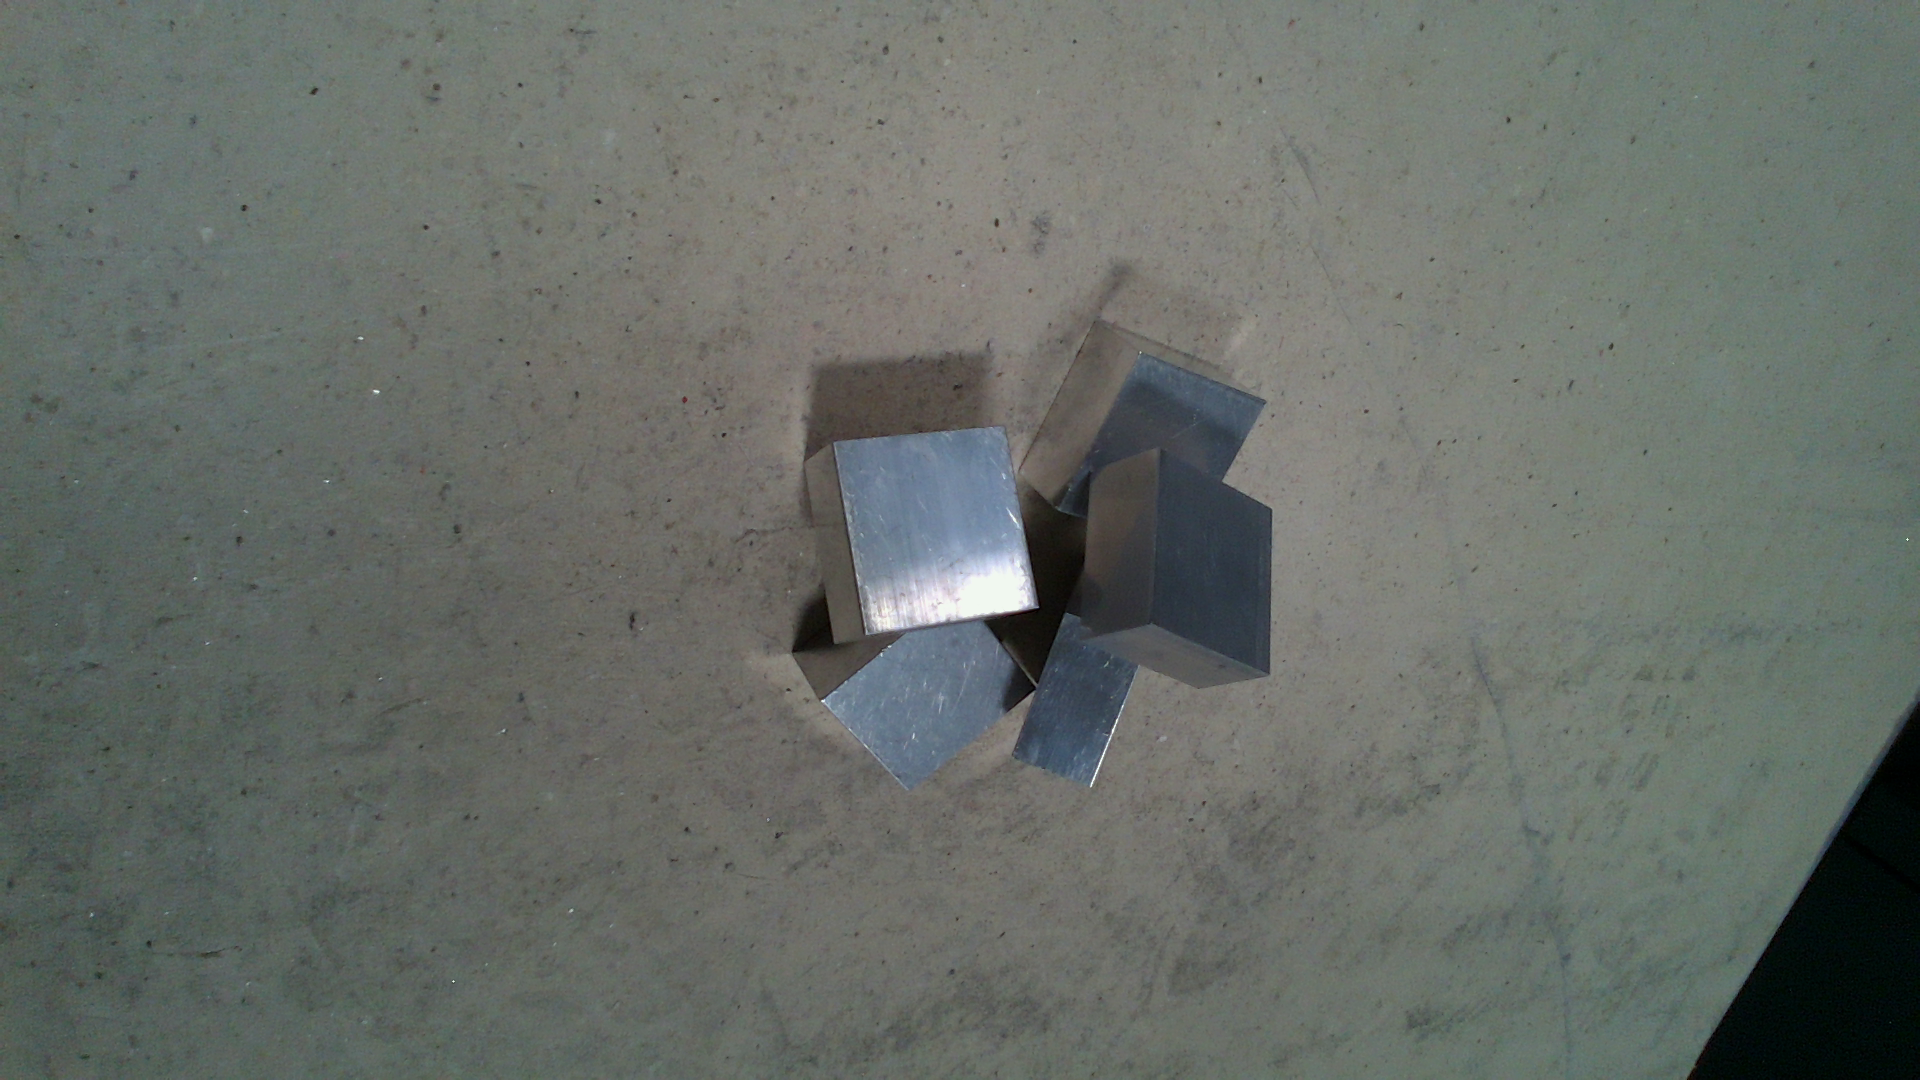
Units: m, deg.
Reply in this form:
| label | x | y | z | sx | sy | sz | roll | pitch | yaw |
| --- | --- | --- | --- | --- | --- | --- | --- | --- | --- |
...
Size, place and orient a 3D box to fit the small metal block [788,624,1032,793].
| label | x | y | z | sx | sy | sz | roll | pitch | yaw |
| --- | --- | --- | --- | --- | --- | --- | --- | --- | --- |
| small metal block | -0.013 | 0.039 | 0.406 | 0.050 | 0.025 | 0.050 | -39 | 129 | -2 |

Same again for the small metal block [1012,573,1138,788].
| label | x | y | z | sx | sy | sz | roll | pitch | yaw |
| --- | --- | --- | --- | --- | --- | --- | --- | --- | --- |
| small metal block | 0.039 | 0.038 | 0.415 | 0.025 | 0.050 | 0.050 | 20 | 112 | 5 |

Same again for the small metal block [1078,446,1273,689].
| label | x | y | z | sx | sy | sz | roll | pitch | yaw |
| --- | --- | --- | --- | --- | --- | --- | --- | --- | --- |
| small metal block | 0.060 | 0.009 | 0.378 | 0.050 | 0.025 | 0.050 | 23 | 62 | -37 |

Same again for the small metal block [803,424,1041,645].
| label | x | y | z | sx | sy | sz | roll | pitch | yaw |
| --- | --- | --- | --- | --- | --- | --- | --- | --- | --- |
| small metal block | -0.011 | -0.001 | 0.367 | 0.050 | 0.025 | 0.050 | -8 | 84 | -25 |

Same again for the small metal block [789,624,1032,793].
| label | x | y | z | sx | sy | sz | roll | pitch | yaw |
| --- | --- | --- | --- | --- | --- | --- | --- | --- | --- |
| small metal block | -0.013 | 0.039 | 0.406 | 0.050 | 0.025 | 0.050 | -39 | 129 | -2 |

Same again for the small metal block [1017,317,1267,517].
| label | x | y | z | sx | sy | sz | roll | pitch | yaw |
| --- | --- | --- | --- | --- | --- | --- | --- | --- | --- |
| small metal block | 0.053 | -0.030 | 0.399 | 0.050 | 0.025 | 0.050 | 14 | 111 | -34 |
